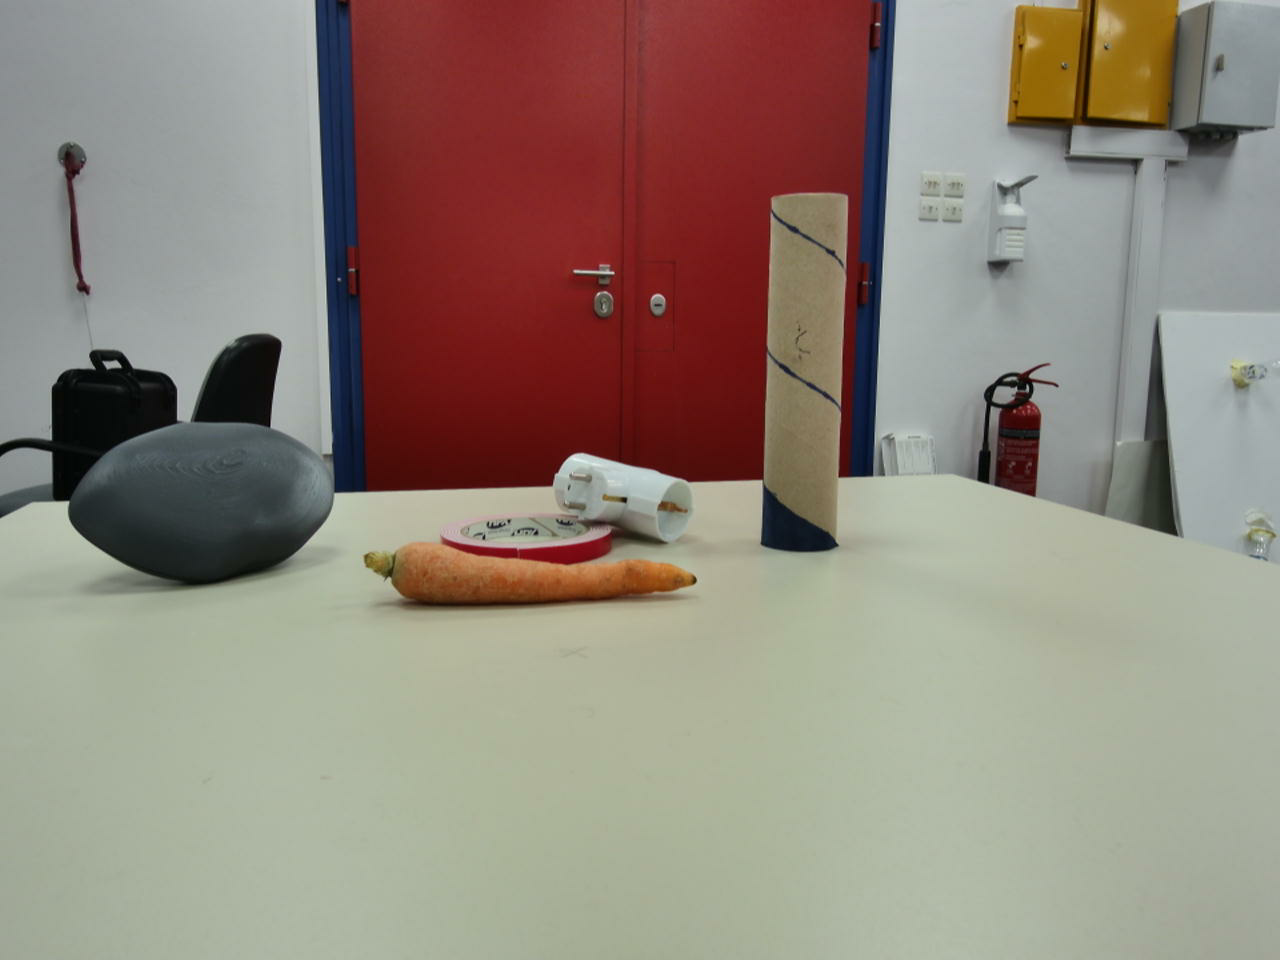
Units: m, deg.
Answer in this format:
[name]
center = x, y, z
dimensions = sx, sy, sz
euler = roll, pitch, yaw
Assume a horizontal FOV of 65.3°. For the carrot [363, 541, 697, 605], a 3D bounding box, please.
[carrot]
center = -0.055, 0.047, 0.517
dimensions = 0.173, 0.032, 0.030
euler = 0, 6, -4
